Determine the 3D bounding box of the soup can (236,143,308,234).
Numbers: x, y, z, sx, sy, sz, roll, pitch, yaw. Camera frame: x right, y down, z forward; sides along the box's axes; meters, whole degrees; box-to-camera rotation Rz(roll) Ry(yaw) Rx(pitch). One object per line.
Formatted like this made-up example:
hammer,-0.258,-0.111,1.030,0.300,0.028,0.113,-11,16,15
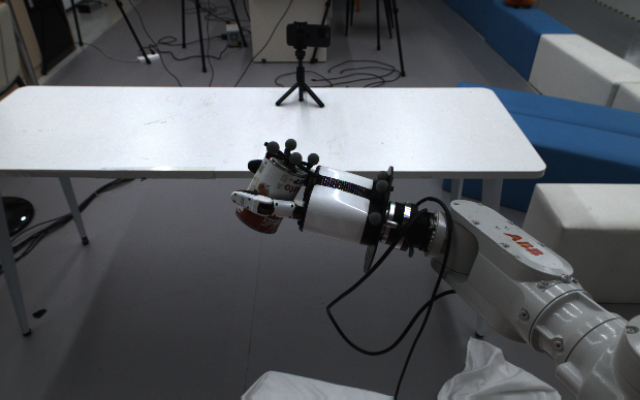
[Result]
soup can,-0.069,-0.010,0.695,0.067,0.101,0.067,28,18,-10
